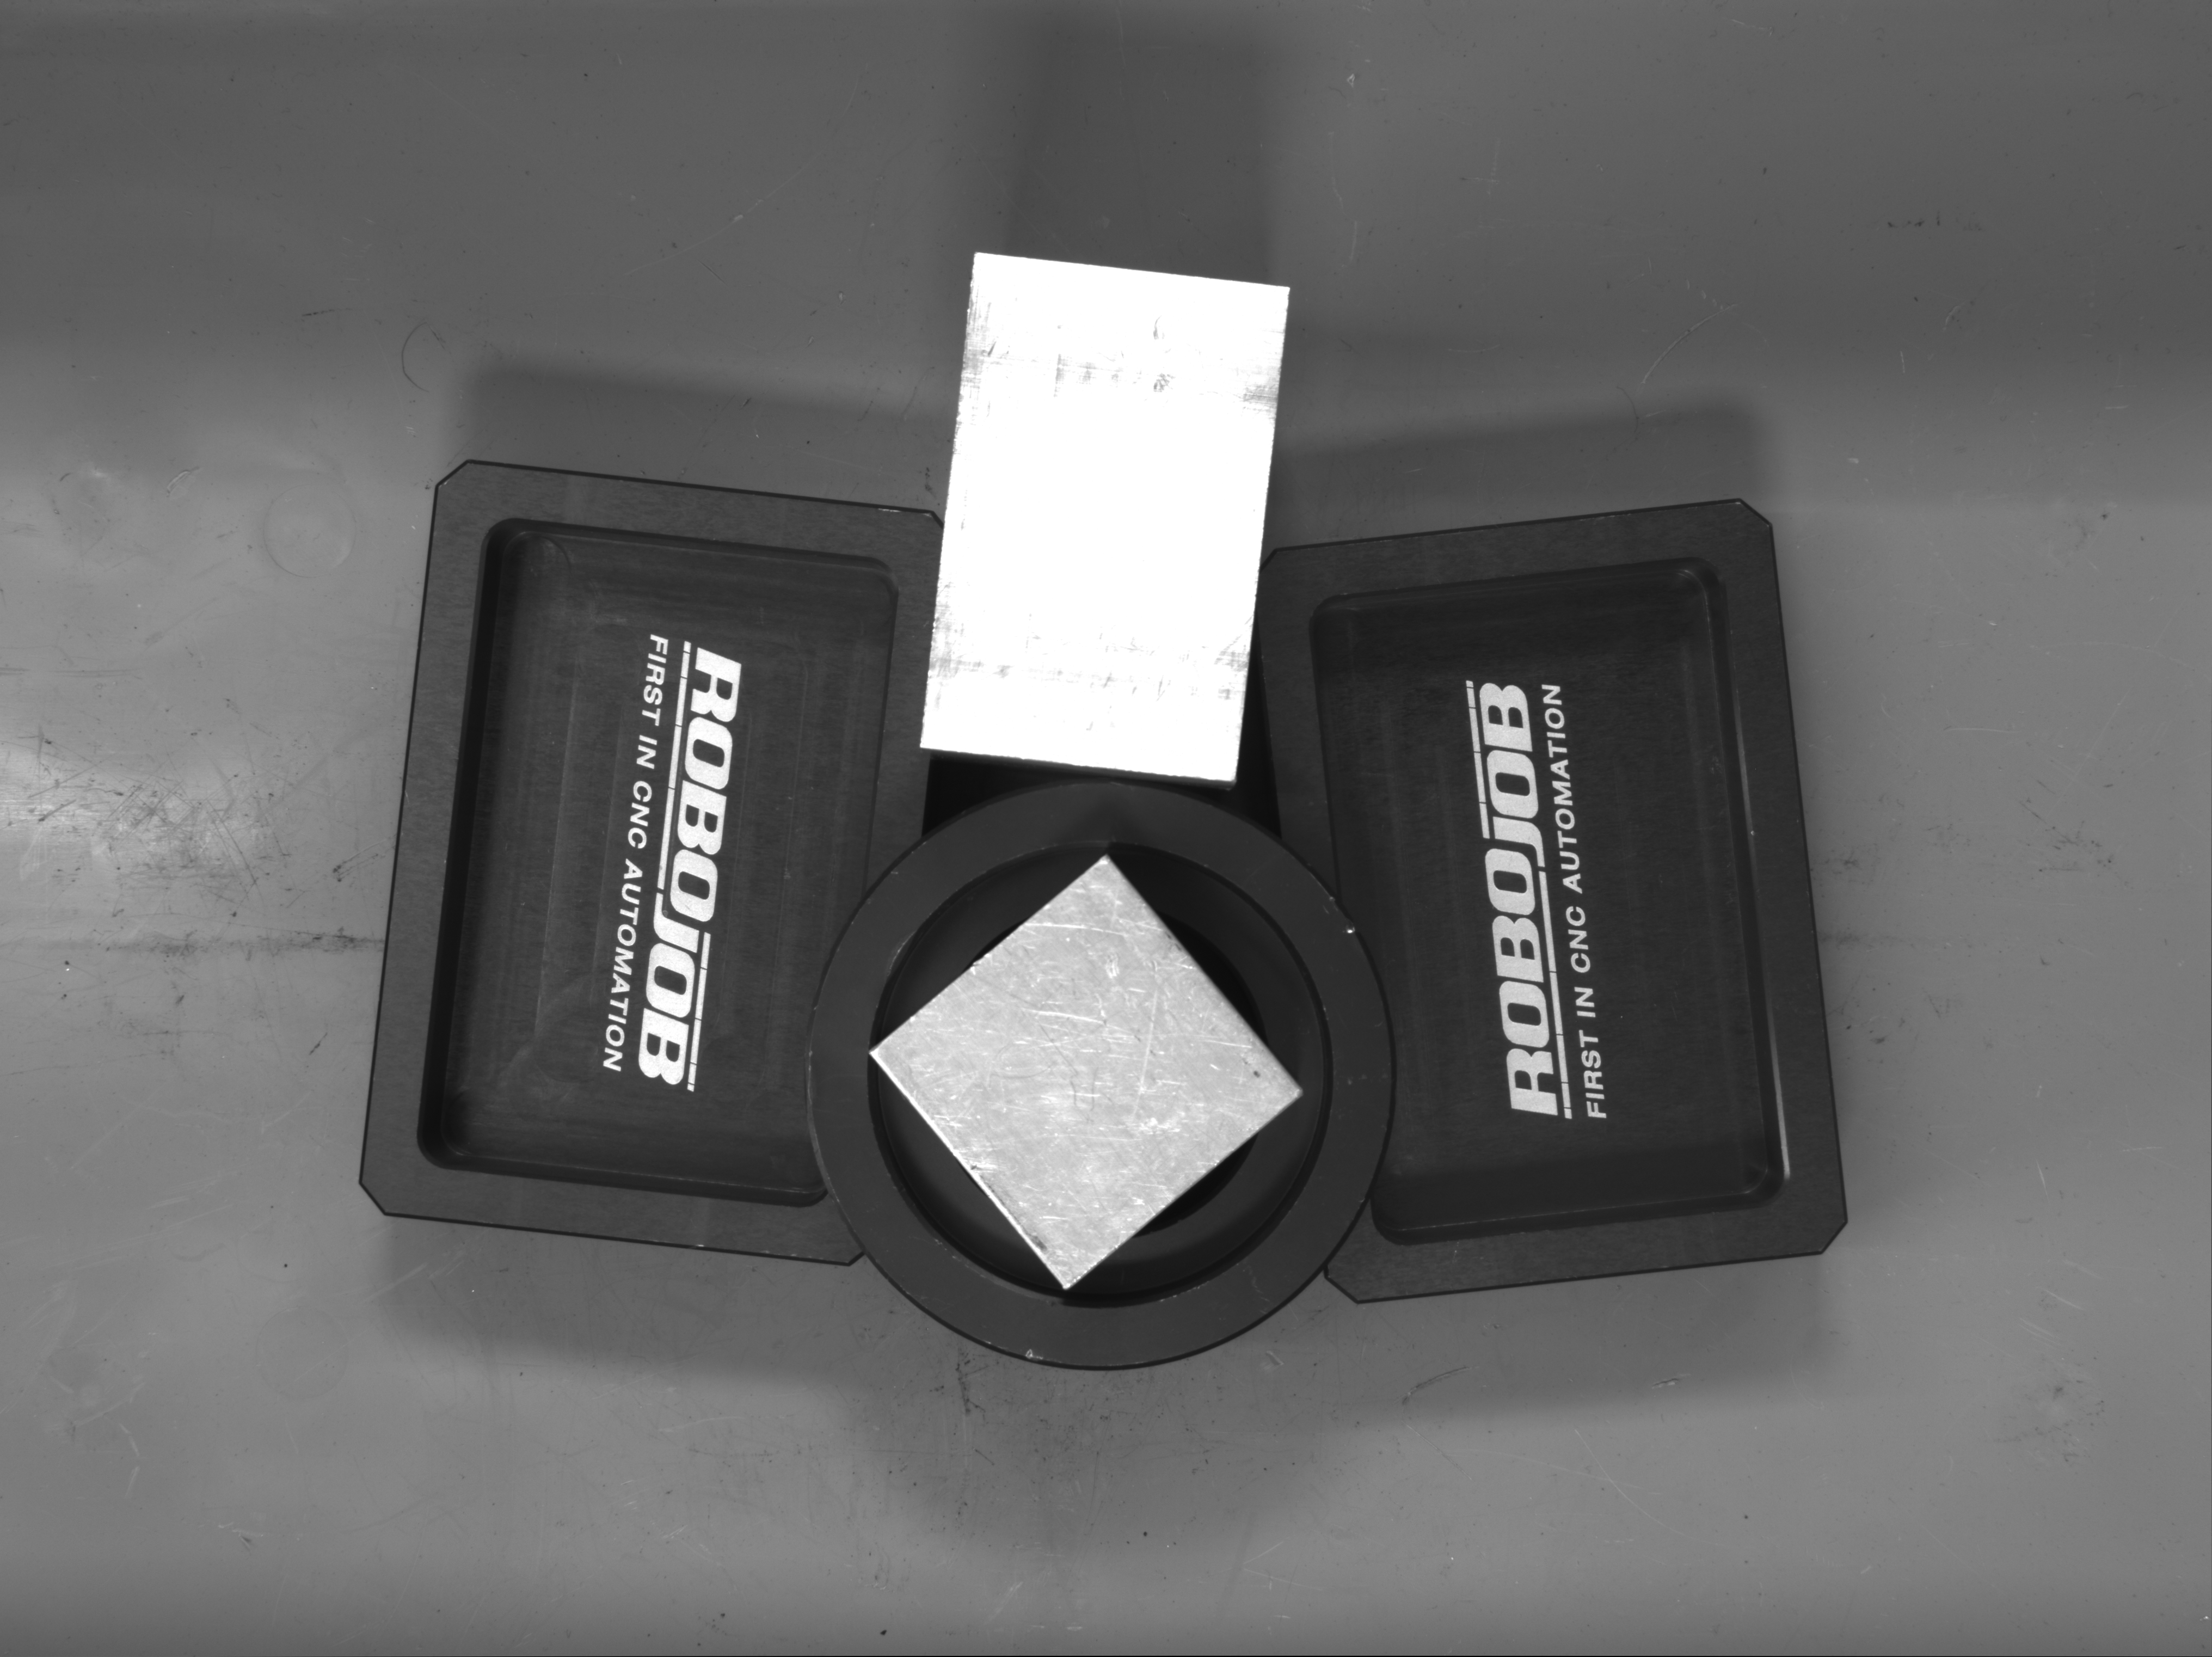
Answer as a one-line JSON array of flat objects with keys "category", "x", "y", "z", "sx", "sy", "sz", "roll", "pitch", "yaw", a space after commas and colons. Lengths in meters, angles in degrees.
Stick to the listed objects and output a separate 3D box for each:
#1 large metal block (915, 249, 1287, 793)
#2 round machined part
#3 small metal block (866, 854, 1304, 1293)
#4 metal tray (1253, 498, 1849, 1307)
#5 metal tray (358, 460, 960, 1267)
[{"category": "large metal block", "x": -0.001, "y": -0.048, "z": 0.617, "sx": 0.050, "sy": 0.080, "sz": 0.080, "roll": 6, "pitch": 90, "yaw": 0}, {"category": "round machined part", "x": 0.000, "y": 0.041, "z": 0.626, "sx": 0.098, "sy": 0.042, "sz": 0.098, "roll": 0, "pitch": 90, "yaw": 0}, {"category": "small metal block", "x": -0.003, "y": 0.039, "z": 0.602, "sx": 0.050, "sy": 0.025, "sz": 0.050, "roll": -39, "pitch": 90, "yaw": 0}, {"category": "metal tray", "x": 0.076, "y": 0.013, "z": 0.642, "sx": 0.090, "sy": 0.030, "sz": 0.130, "roll": -6, "pitch": 90, "yaw": 0}, {"category": "metal tray", "x": -0.076, "y": 0.006, "z": 0.642, "sx": 0.090, "sy": 0.030, "sz": 0.130, "roll": 6, "pitch": 90, "yaw": 0}]
